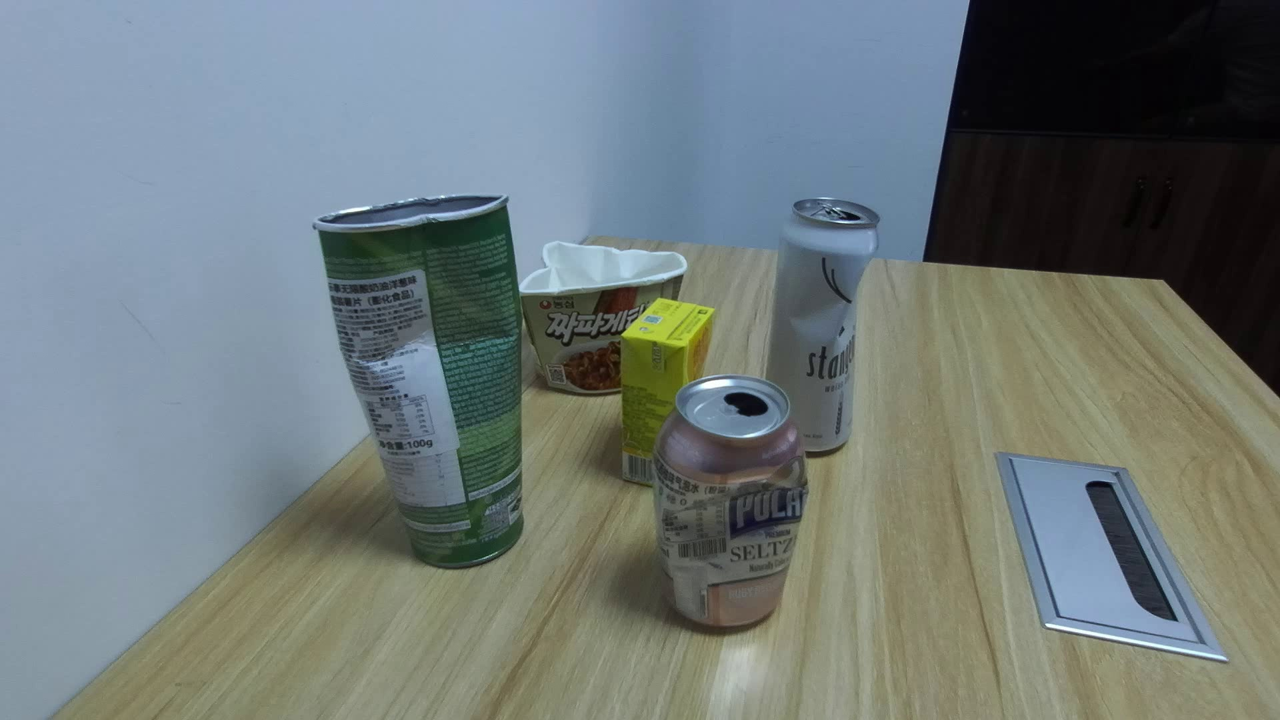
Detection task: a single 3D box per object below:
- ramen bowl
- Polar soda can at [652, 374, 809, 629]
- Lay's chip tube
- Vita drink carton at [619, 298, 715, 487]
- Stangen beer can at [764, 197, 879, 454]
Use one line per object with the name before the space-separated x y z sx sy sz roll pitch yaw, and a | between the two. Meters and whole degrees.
ramen bowl | -0.025 -0.039 0.594 0.134 0.097 0.113 -1 28 1
Polar soda can | 0.046 0.073 0.355 0.074 0.122 0.067 10 32 21
Lay's chip tube | -0.106 0.016 0.385 0.069 0.199 0.075 9 29 17
Vita drink carton | 0.021 0.020 0.467 0.043 0.109 0.076 11 31 21
Stangen beer can | 0.124 -0.022 0.479 0.070 0.173 0.069 -12 31 -22
